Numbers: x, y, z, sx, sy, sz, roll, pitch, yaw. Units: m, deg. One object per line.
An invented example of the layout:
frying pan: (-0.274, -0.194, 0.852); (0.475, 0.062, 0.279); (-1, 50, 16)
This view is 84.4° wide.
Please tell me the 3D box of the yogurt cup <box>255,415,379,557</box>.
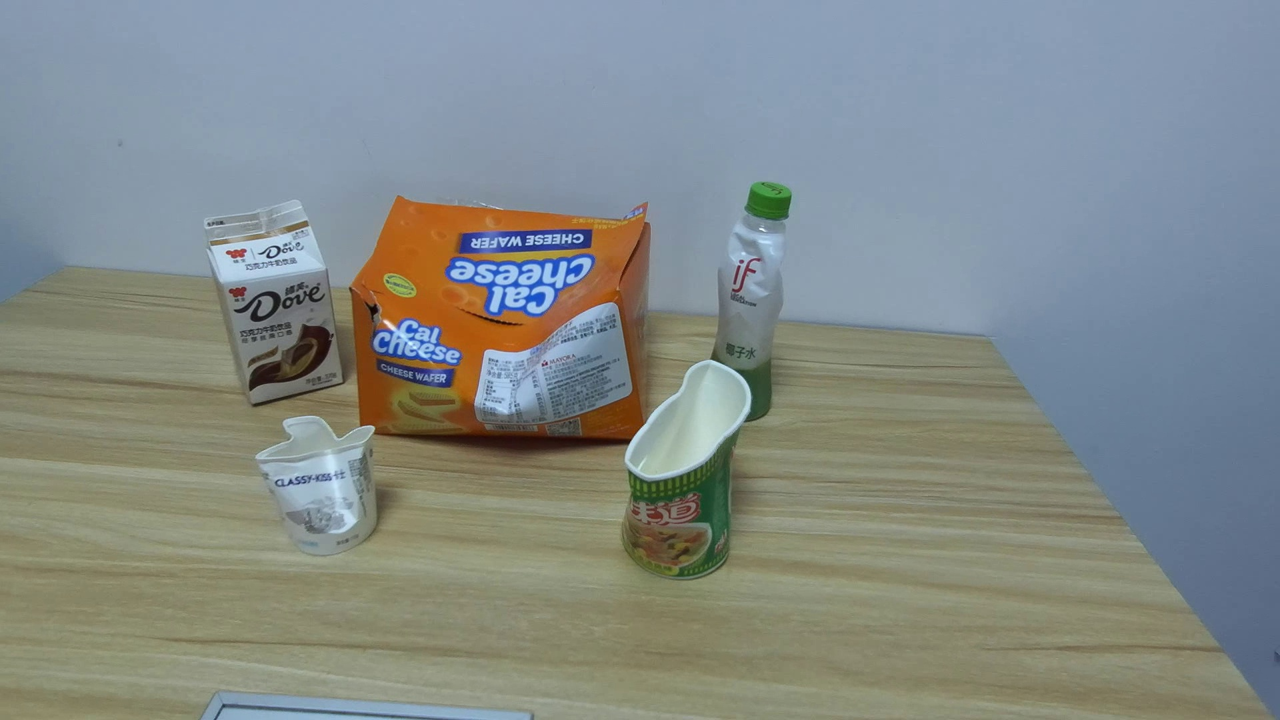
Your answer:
yogurt cup: (-0.194, 0.075, 0.438); (0.055, 0.072, 0.055); (8, 31, 6)

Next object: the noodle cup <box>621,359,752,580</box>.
noodle cup: (0.026, 0.074, 0.435); (0.115, 0.111, 0.070); (-24, 42, -39)

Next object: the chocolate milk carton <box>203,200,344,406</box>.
chocolate milk carton: (-0.289, -0.050, 0.556); (0.076, 0.148, 0.073); (-17, 38, -33)

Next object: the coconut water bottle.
coconut water bottle: (0.087, -0.043, 0.554); (0.067, 0.187, 0.067); (4, 31, -2)

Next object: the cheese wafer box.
cheese wafer box: (-0.101, -0.032, 0.559); (0.219, 0.145, 0.191); (2, 33, -3)
